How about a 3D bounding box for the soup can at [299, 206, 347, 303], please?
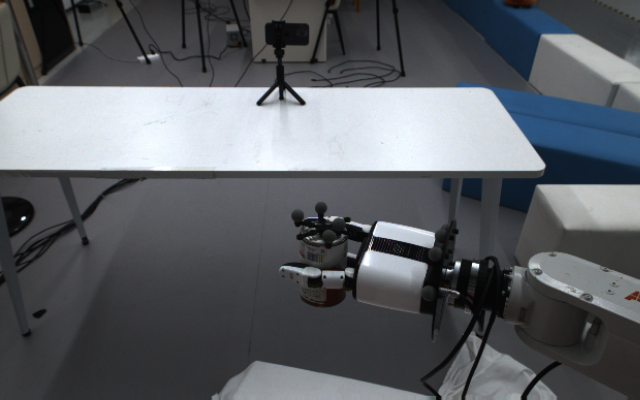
[{"bbox_3d":[0.007,0.089,0.672,0.067,0.101,0.067,1,25,0],"label":"soup can"}]
